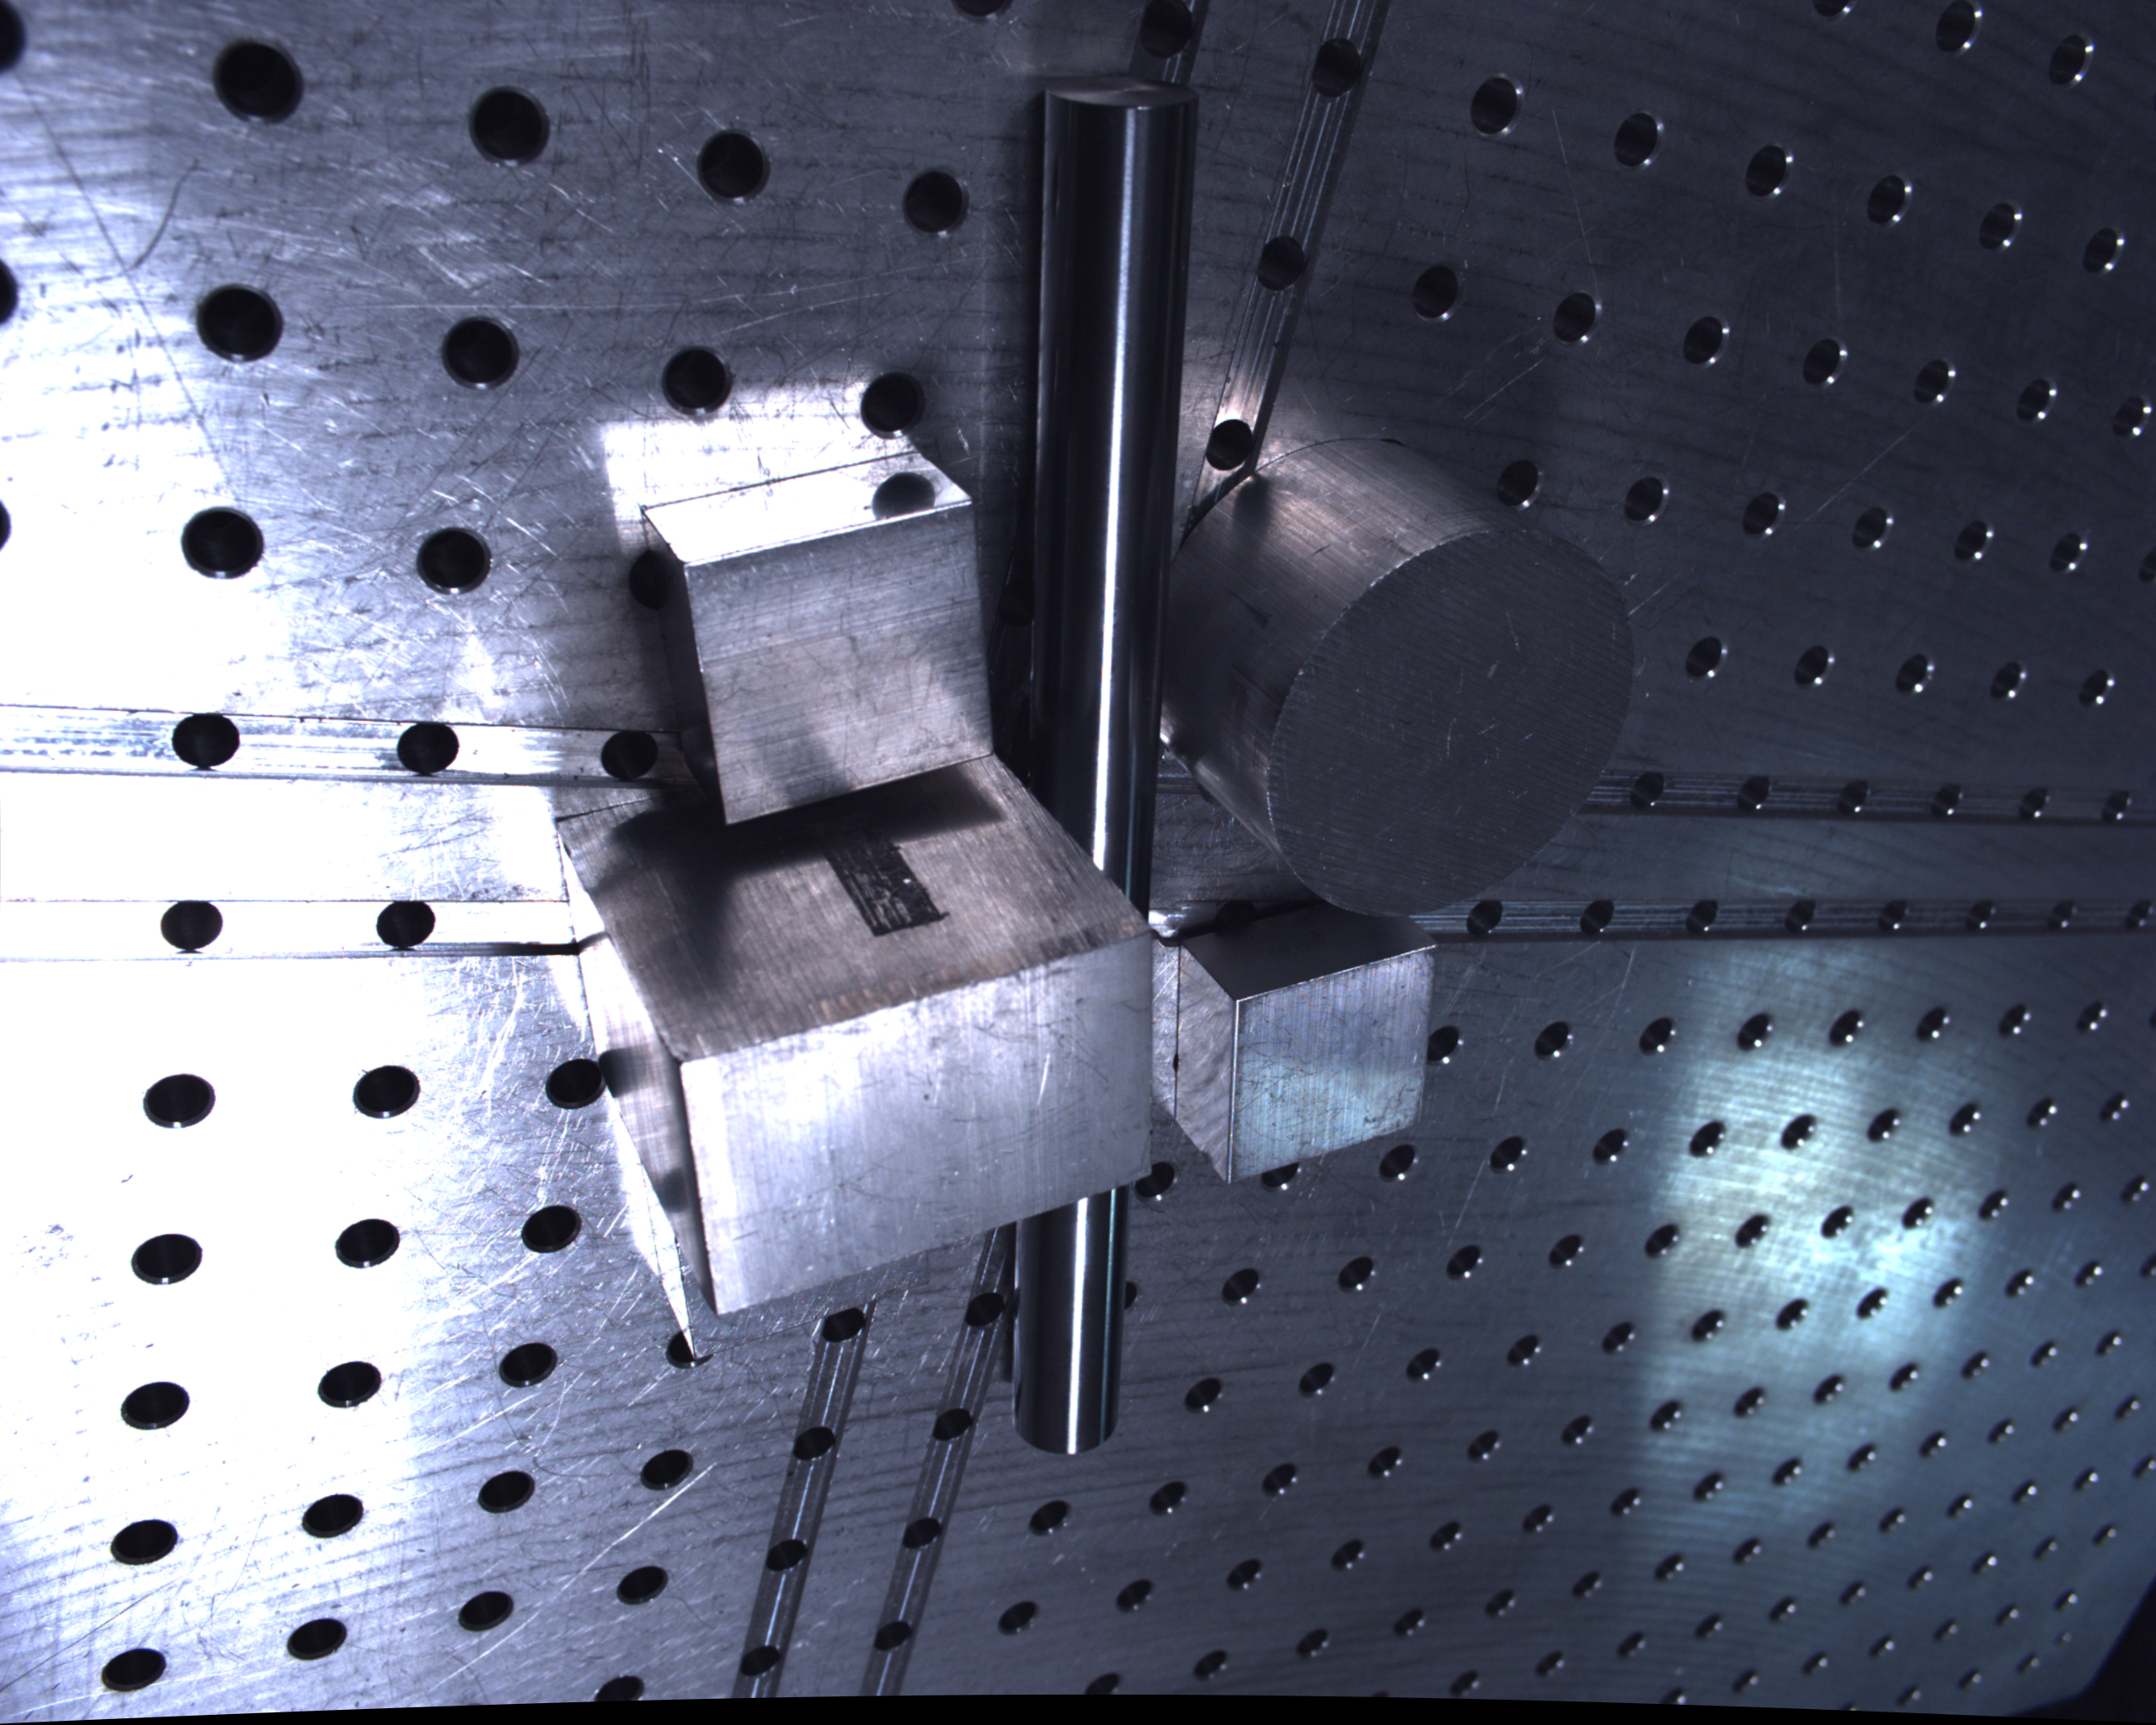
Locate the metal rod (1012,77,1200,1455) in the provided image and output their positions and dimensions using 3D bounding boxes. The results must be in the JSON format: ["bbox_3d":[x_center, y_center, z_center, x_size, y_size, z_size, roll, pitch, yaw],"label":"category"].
[{"bbox_3d":[0.002,0.003,0.415,0.025,0.025,0.298,-12,124,-22],"label":"metal rod"}]

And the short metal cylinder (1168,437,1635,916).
[{"bbox_3d":[0.060,-0.036,0.406,0.081,0.050,0.079,-14,125,-21],"label":"short metal cylinder"}]

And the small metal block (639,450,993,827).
[{"bbox_3d":[-0.045,-0.039,0.364,0.050,0.025,0.050,-16,125,-20],"label":"small metal block"}]

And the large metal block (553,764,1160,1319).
[{"bbox_3d":[-0.040,0.024,0.368,0.081,0.080,0.050,-15,125,-21],"label":"large metal block"}]

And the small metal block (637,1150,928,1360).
[{"bbox_3d":[-0.060,0.066,0.421,0.050,0.025,0.050,-15,125,-21],"label":"small metal block"}]

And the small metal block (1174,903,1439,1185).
[{"bbox_3d":[0.050,0.038,0.464,0.050,0.025,0.050,-14,124,-21],"label":"small metal block"}]
